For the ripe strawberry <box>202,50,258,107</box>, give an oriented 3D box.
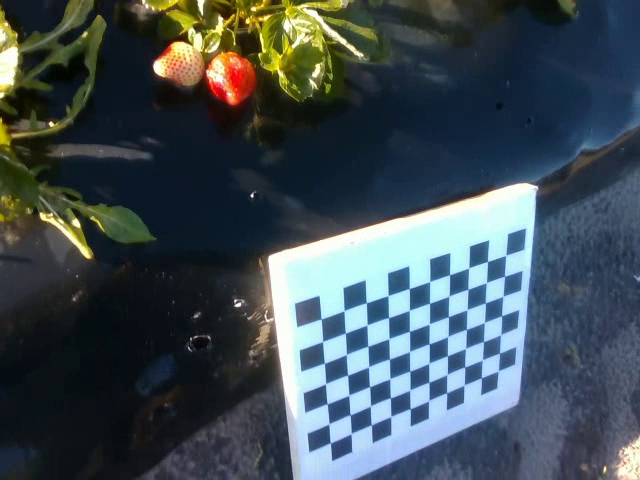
[{"bbox_3d":[-0.063,-0.113,0.445,0.040,0.038,0.056,-18,34,9],"label":"ripe strawberry"}]
